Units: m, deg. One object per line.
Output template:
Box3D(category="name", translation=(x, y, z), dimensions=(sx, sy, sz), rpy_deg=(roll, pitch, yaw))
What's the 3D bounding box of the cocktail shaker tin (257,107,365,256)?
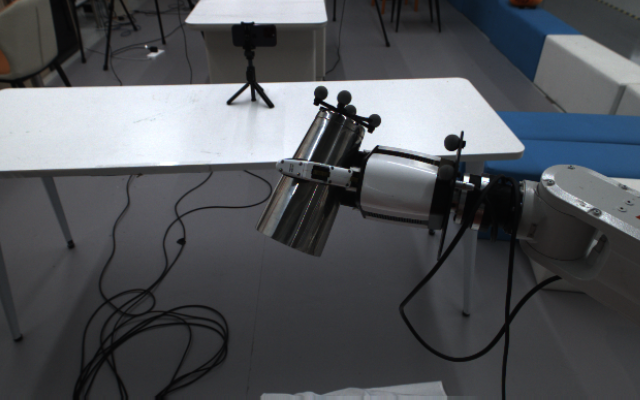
Box3D(category="cocktail shaker tin", translation=(-0.004, -0.026, 0.617), dimensions=(0.093, 0.170, 0.093), rpy_deg=(23, 0, 0))
